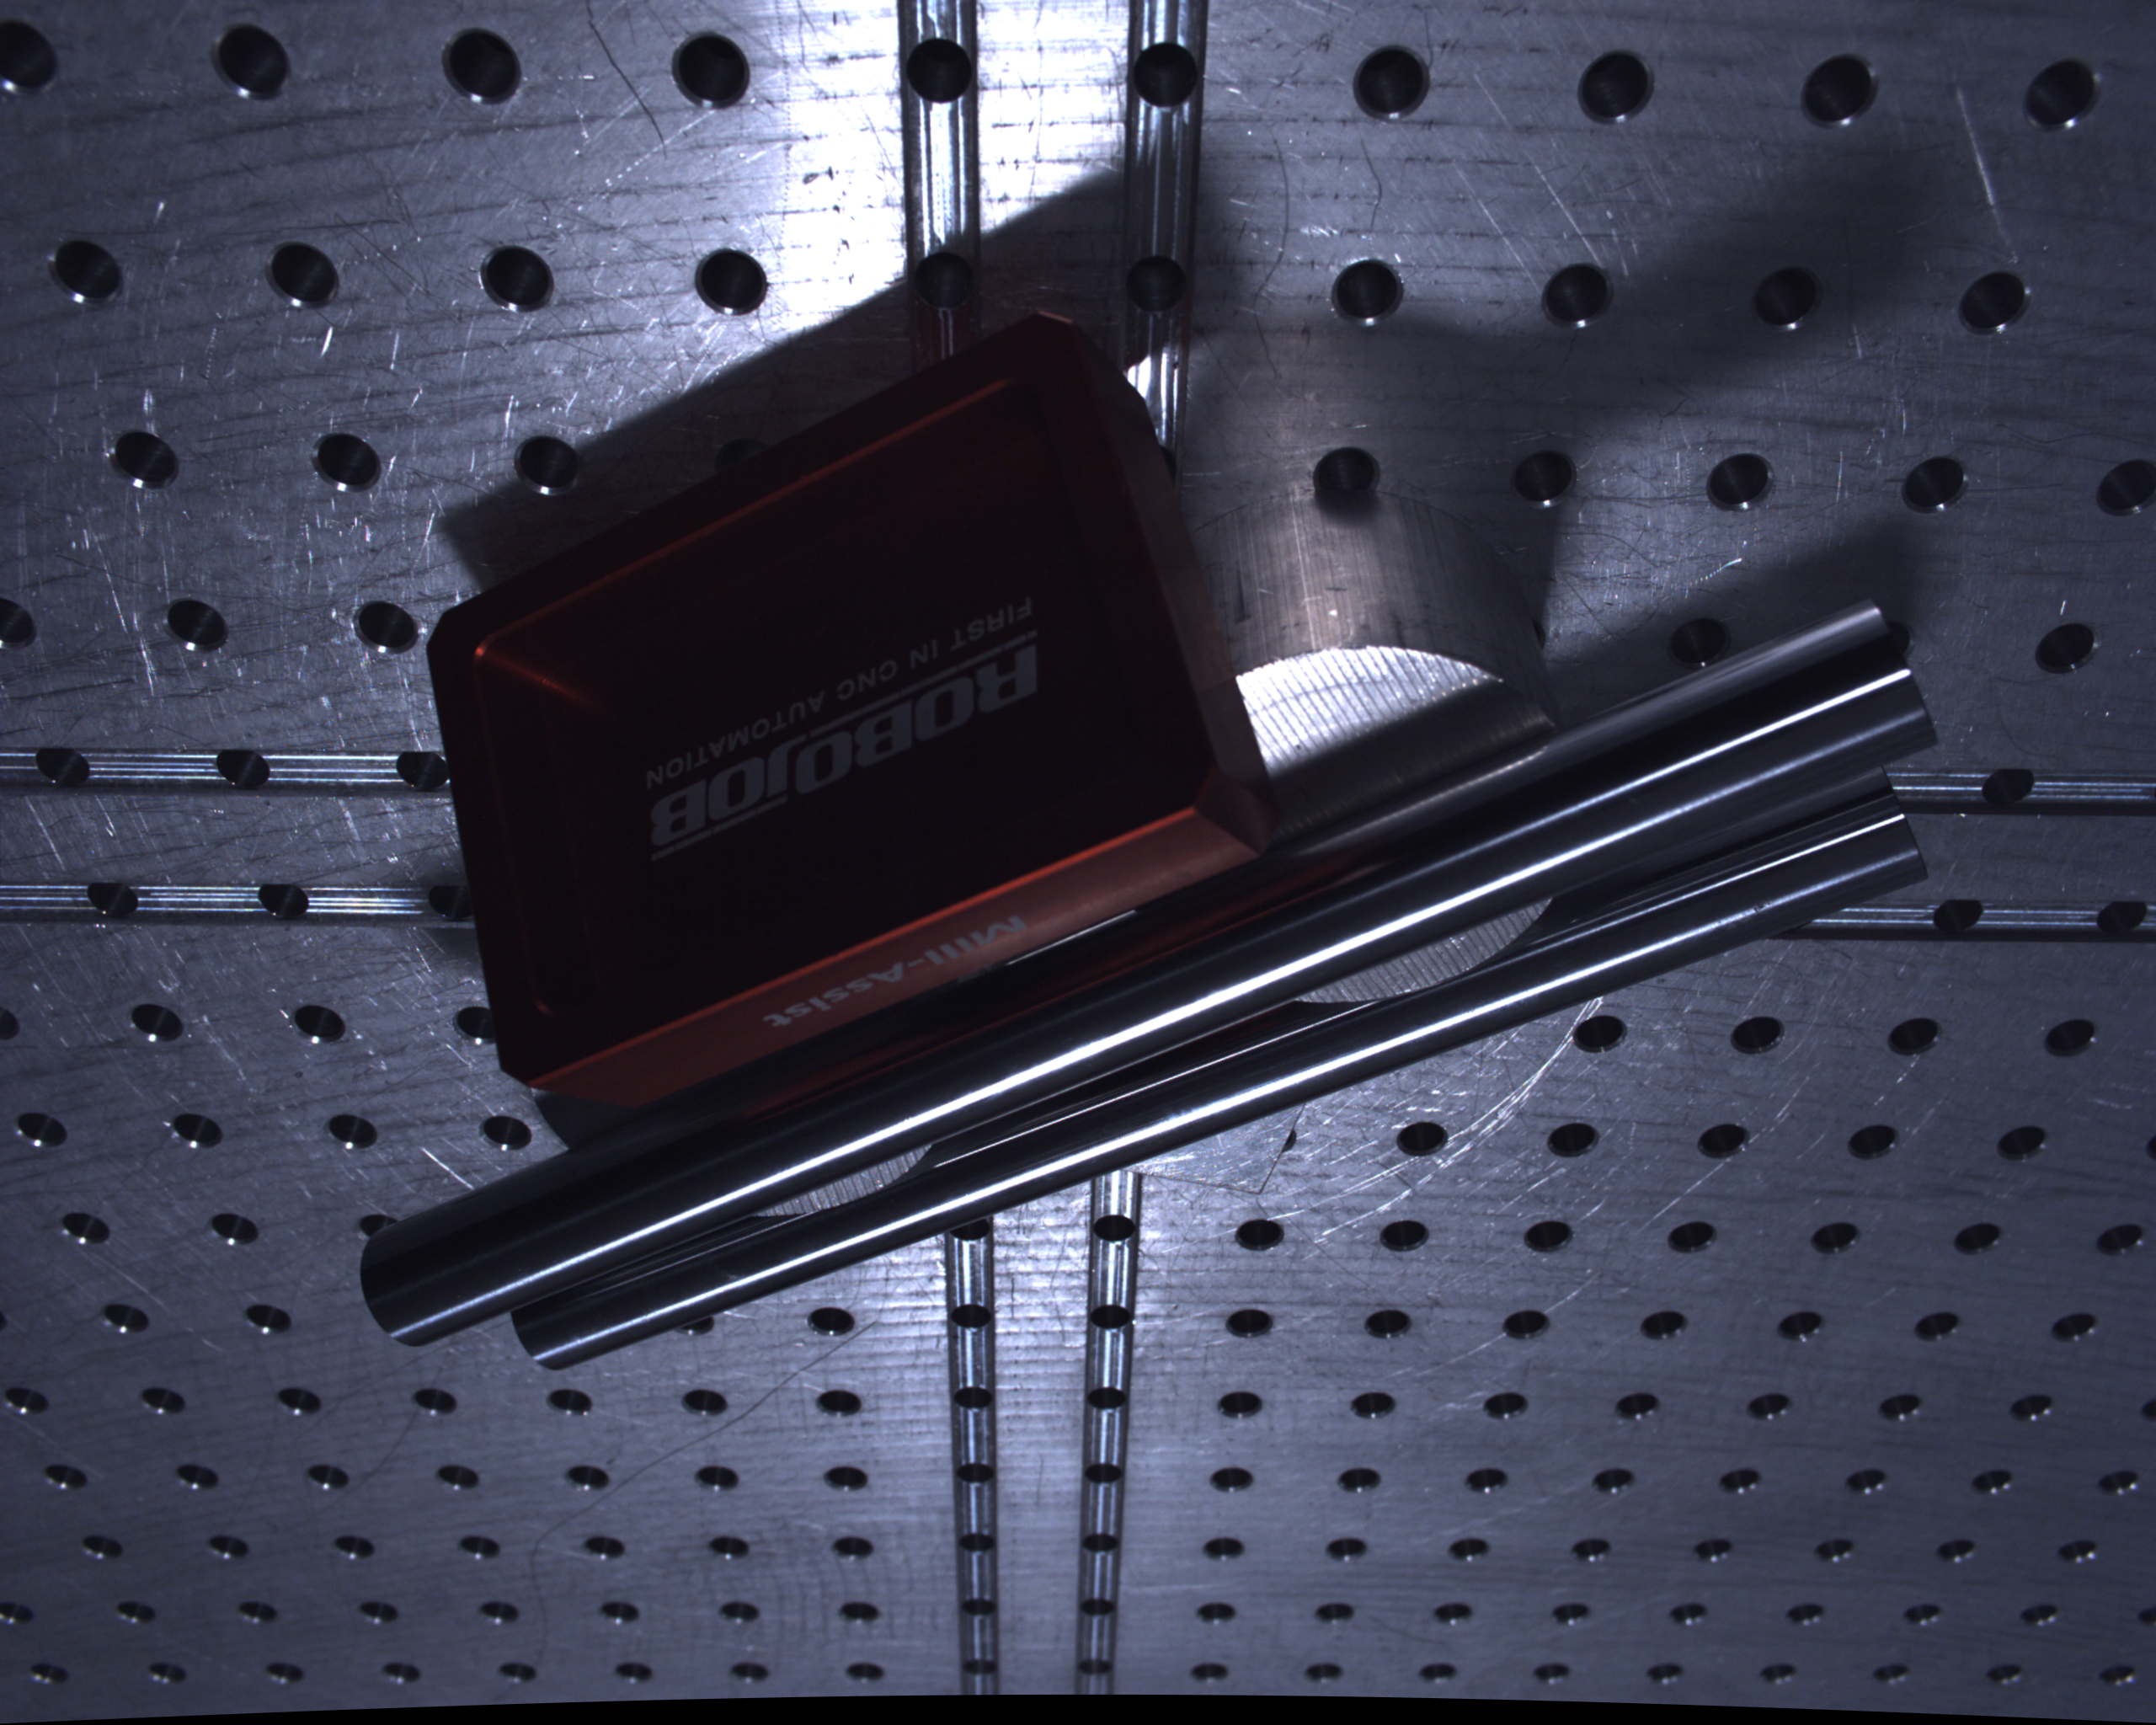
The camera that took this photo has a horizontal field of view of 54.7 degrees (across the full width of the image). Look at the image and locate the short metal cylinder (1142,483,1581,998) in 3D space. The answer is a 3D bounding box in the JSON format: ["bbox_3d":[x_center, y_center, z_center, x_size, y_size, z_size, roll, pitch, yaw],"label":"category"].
[{"bbox_3d":[0.046,-0.021,0.378,0.081,0.050,0.079,0,130,0],"label":"short metal cylinder"}]

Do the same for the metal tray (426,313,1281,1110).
[{"bbox_3d":[-0.042,-0.022,0.347,0.130,0.090,0.030,-23,159,17],"label":"metal tray"}]

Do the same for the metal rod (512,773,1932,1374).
[{"bbox_3d":[0.015,0.046,0.417,0.300,0.025,0.025,-22,127,17],"label":"metal rod"}]

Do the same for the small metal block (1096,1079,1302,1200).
[{"bbox_3d":[0.022,0.043,0.447,0.050,0.025,0.050,11,129,-10],"label":"small metal block"}]

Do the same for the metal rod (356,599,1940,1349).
[{"bbox_3d":[-0.003,0.028,0.368,0.300,0.025,0.025,-23,127,18],"label":"metal rod"}]

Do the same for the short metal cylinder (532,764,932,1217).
[{"bbox_3d":[-0.065,0.026,0.416,0.081,0.050,0.079,0,130,0],"label":"short metal cylinder"}]
